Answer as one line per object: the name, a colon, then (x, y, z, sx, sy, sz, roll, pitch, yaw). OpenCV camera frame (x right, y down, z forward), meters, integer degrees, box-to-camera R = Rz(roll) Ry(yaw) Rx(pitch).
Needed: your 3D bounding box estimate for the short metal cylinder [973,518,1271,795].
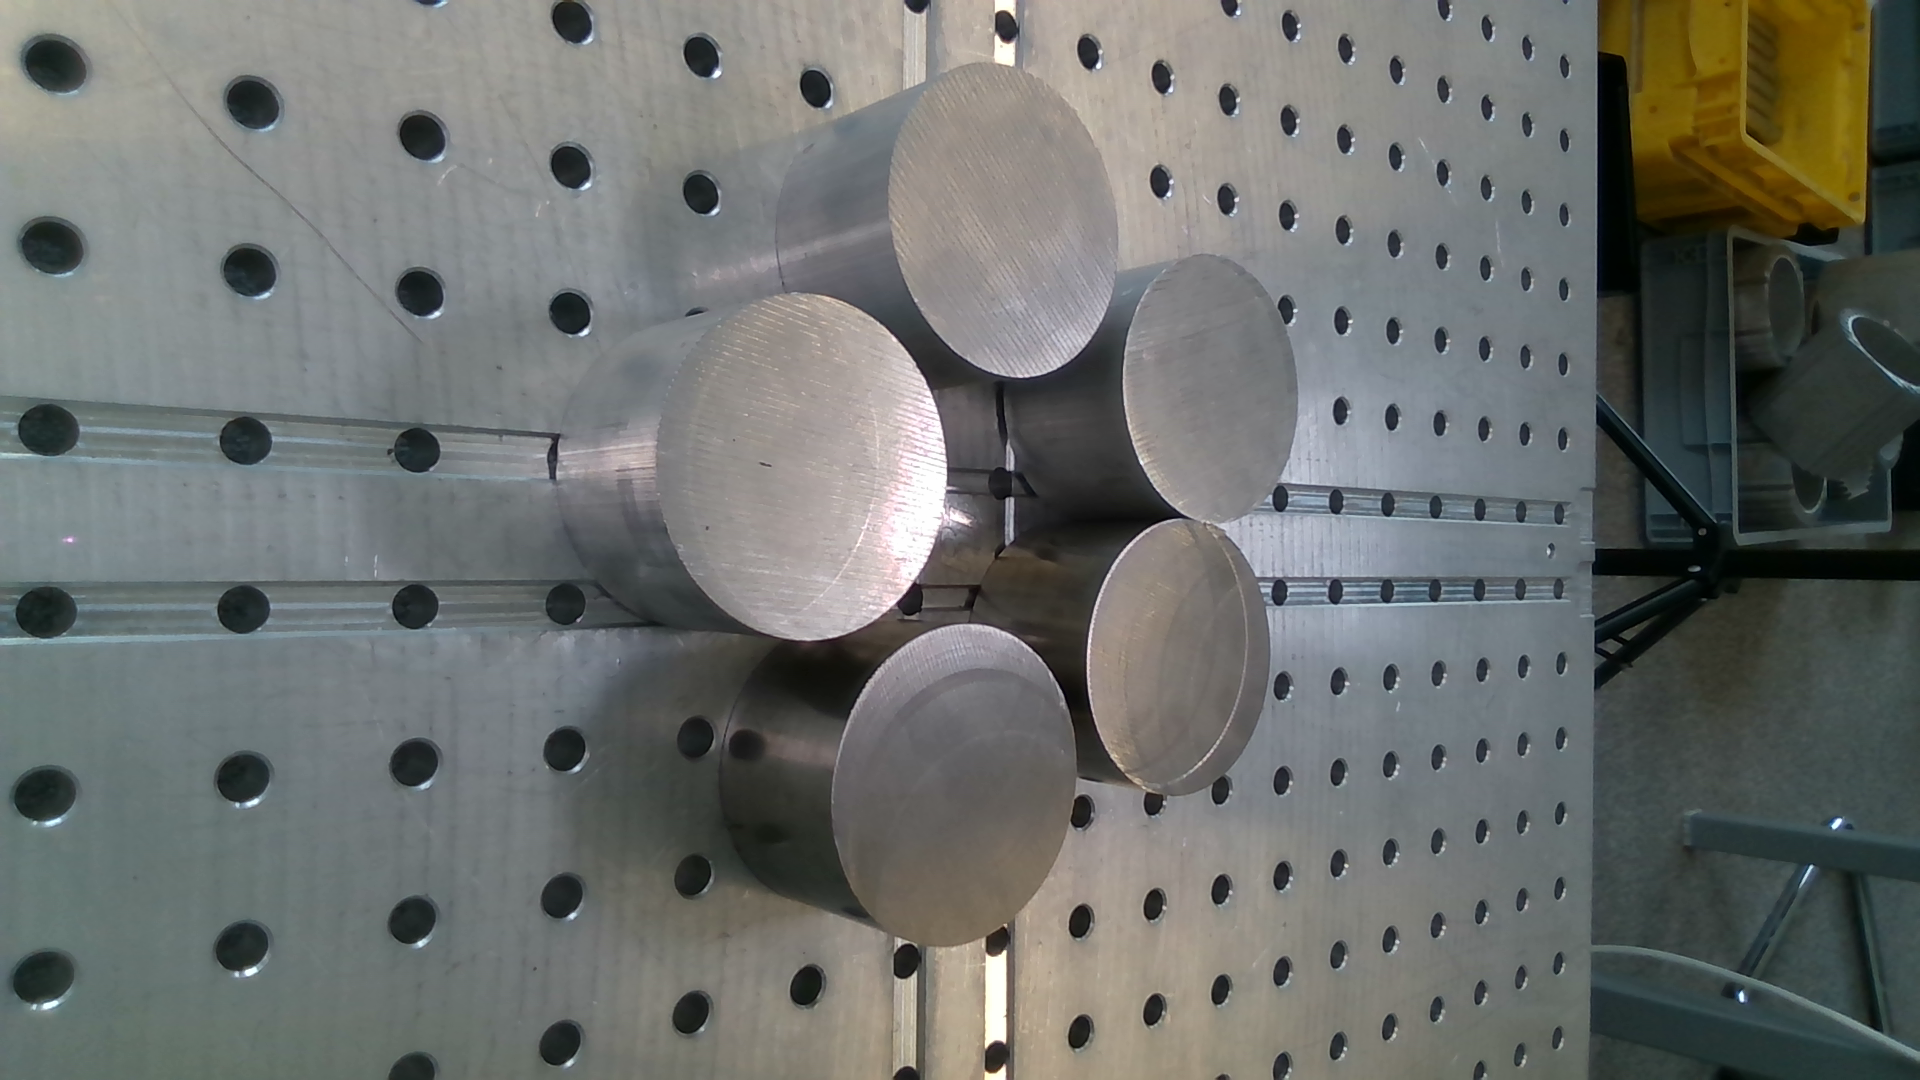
short metal cylinder: (0.049, 0.034, 0.418, 0.080, 0.050, 0.080, 0, 90, -40)

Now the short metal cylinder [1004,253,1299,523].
short metal cylinder: (0.060, -0.045, 0.428, 0.080, 0.050, 0.080, 0, 91, -40)

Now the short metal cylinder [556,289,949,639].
short metal cylinder: (-0.049, -0.017, 0.334, 0.080, 0.050, 0.080, 1, 89, -41)

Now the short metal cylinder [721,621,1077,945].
short metal cylinder: (-0.015, 0.061, 0.364, 0.080, 0.050, 0.080, 0, 90, -39)

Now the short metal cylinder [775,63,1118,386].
short metal cylinder: (-0.003, -0.082, 0.375, 0.080, 0.050, 0.080, 0, 90, -40)
